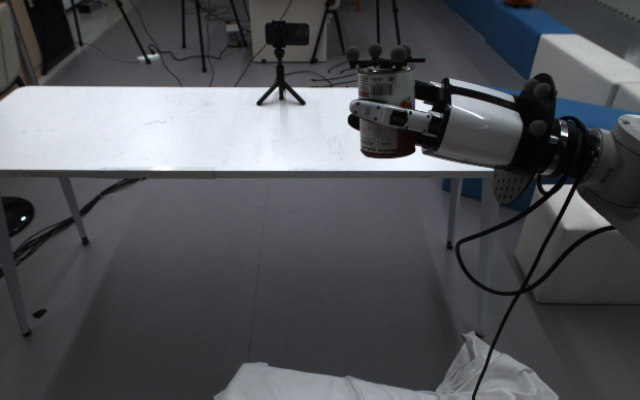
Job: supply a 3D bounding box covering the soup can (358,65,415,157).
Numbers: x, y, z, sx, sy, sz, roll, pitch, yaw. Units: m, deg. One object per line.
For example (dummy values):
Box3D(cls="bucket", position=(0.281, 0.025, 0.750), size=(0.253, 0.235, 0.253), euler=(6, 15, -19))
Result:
Box3D(cls="soup can", position=(0.081, -0.108, 0.580), size=(0.067, 0.101, 0.067), euler=(-4, 21, 1))
